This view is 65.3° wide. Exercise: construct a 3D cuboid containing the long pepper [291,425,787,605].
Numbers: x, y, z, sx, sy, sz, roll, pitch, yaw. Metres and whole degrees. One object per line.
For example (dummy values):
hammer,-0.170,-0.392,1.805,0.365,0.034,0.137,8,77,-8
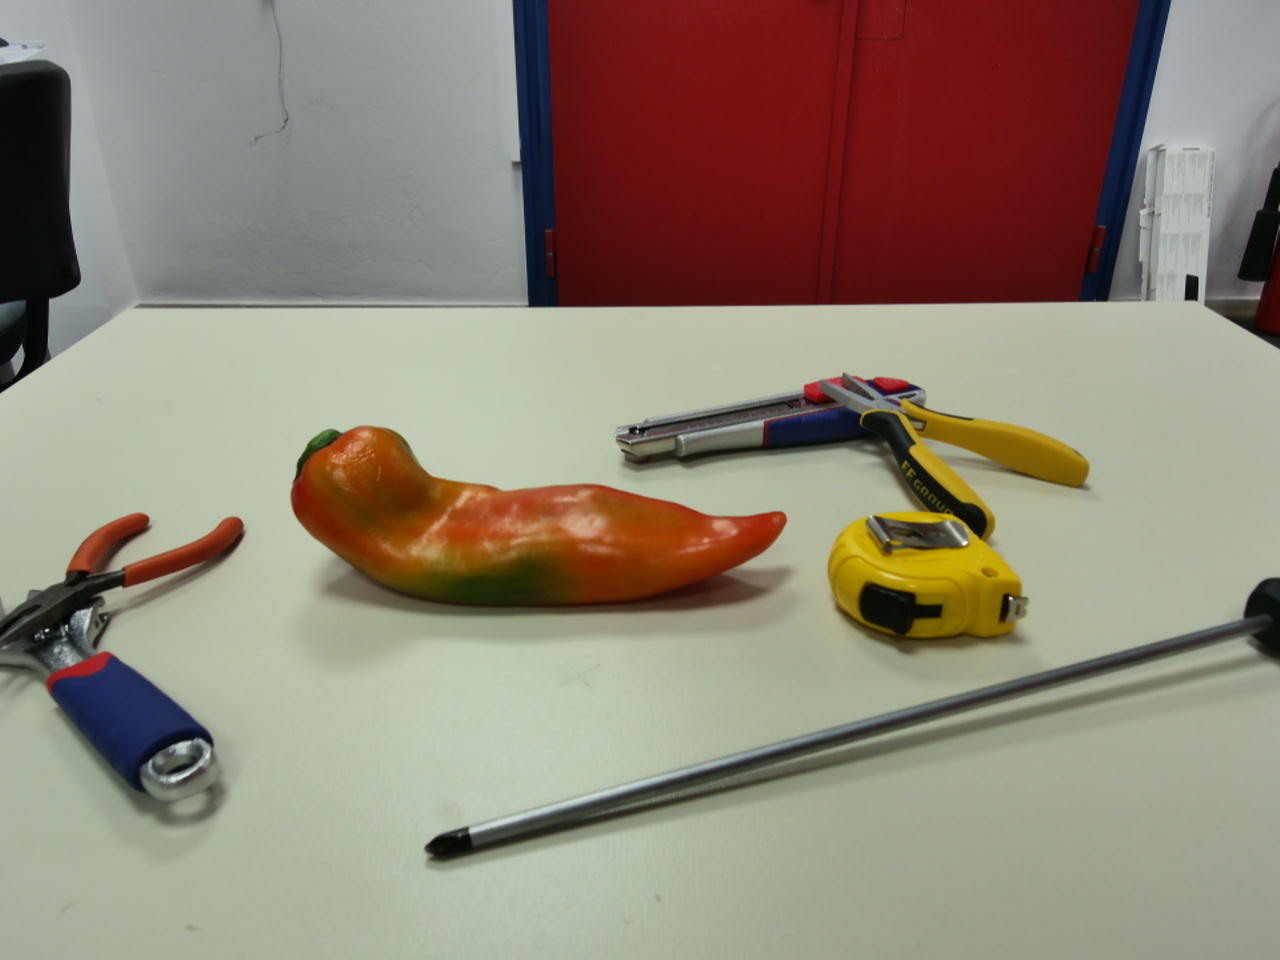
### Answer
long pepper,-0.040,0.012,0.406,0.199,0.065,0.066,2,25,5
